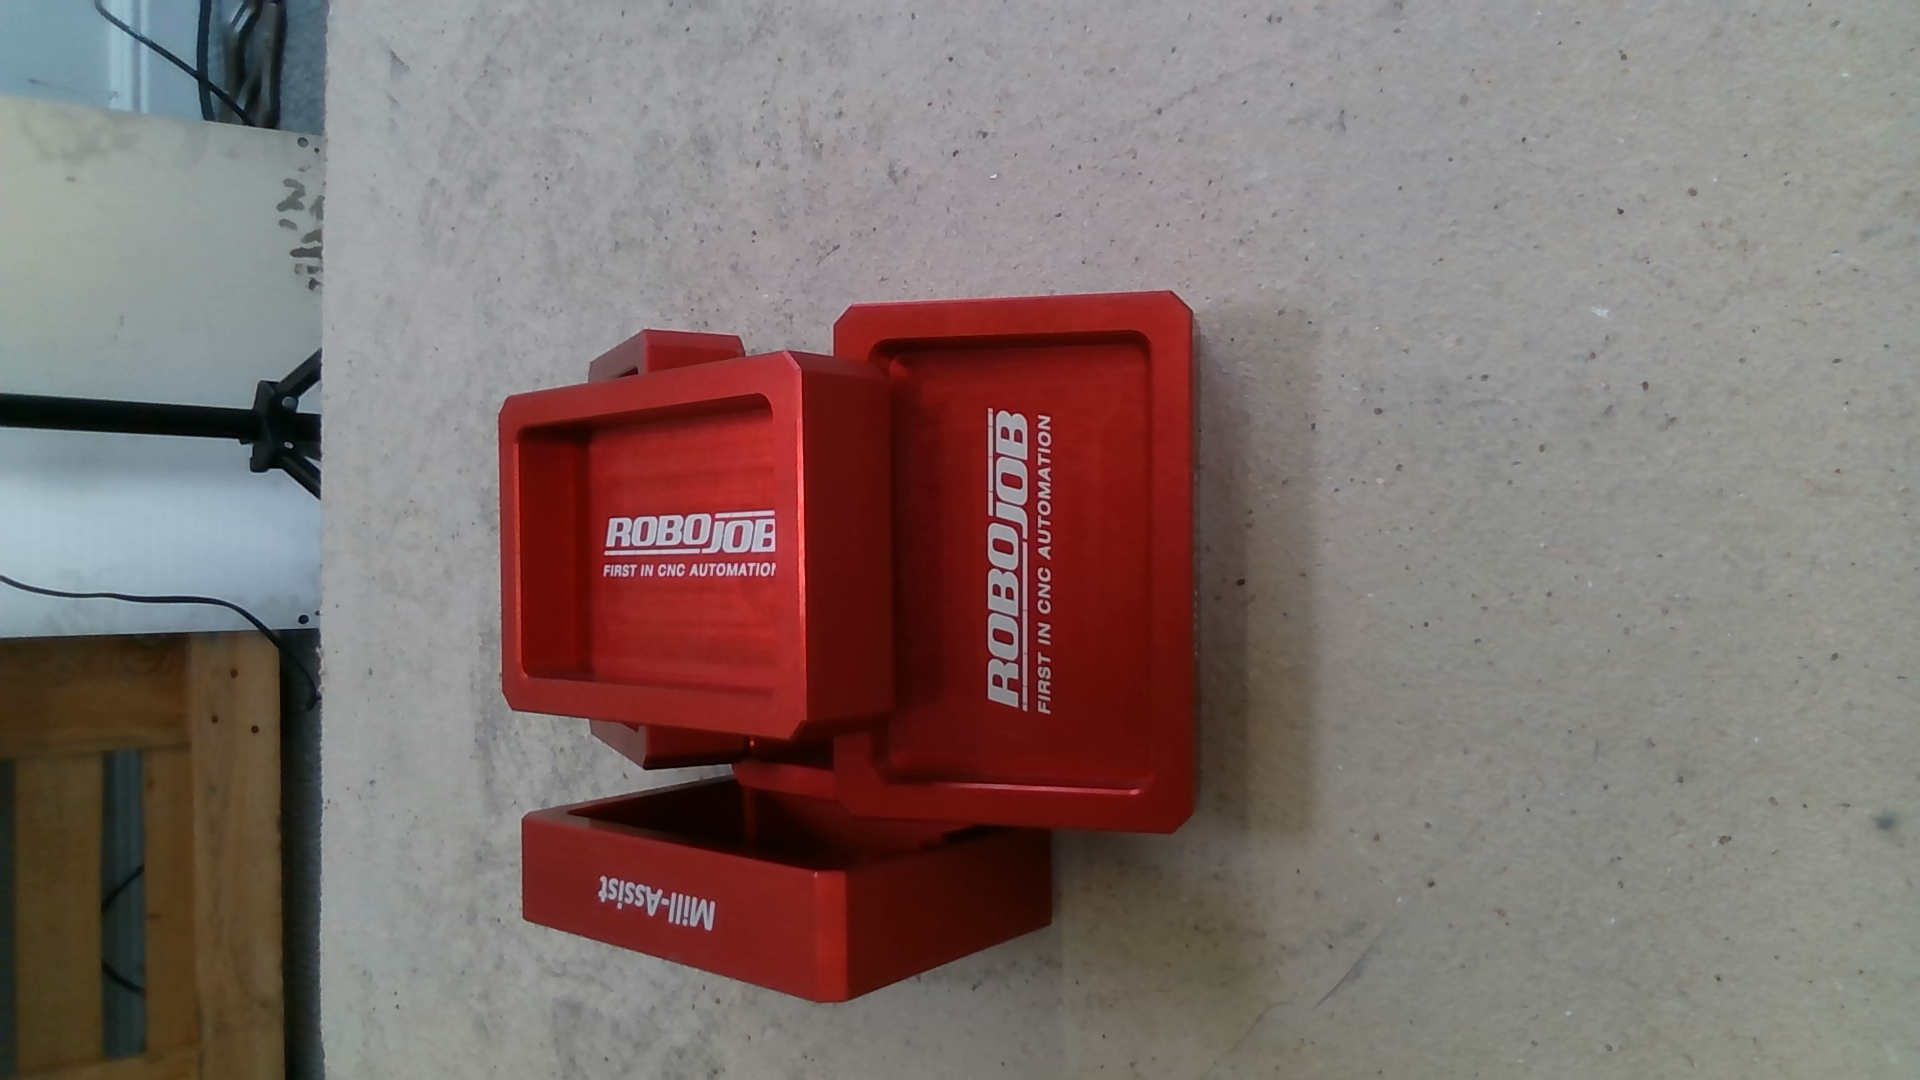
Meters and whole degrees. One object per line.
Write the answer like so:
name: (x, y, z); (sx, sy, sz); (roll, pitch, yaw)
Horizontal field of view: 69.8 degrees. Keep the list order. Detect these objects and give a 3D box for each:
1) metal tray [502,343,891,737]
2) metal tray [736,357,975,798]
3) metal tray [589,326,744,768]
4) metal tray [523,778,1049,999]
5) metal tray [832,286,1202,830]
metal tray: (-0.074, 0.001, 0.365); (0.130, 0.030, 0.090); (-1, 89, 42)
metal tray: (-0.029, 0.010, 0.409); (0.090, 0.030, 0.130); (-1, 90, 42)
metal tray: (-0.097, 0.002, 0.447); (0.090, 0.030, 0.130); (-179, 89, -65)
metal tray: (-0.051, 0.092, 0.392); (0.130, 0.090, 0.030); (-1, 89, 41)
metal tray: (0.015, 0.005, 0.352); (0.090, 0.030, 0.130); (0, 91, 13)
